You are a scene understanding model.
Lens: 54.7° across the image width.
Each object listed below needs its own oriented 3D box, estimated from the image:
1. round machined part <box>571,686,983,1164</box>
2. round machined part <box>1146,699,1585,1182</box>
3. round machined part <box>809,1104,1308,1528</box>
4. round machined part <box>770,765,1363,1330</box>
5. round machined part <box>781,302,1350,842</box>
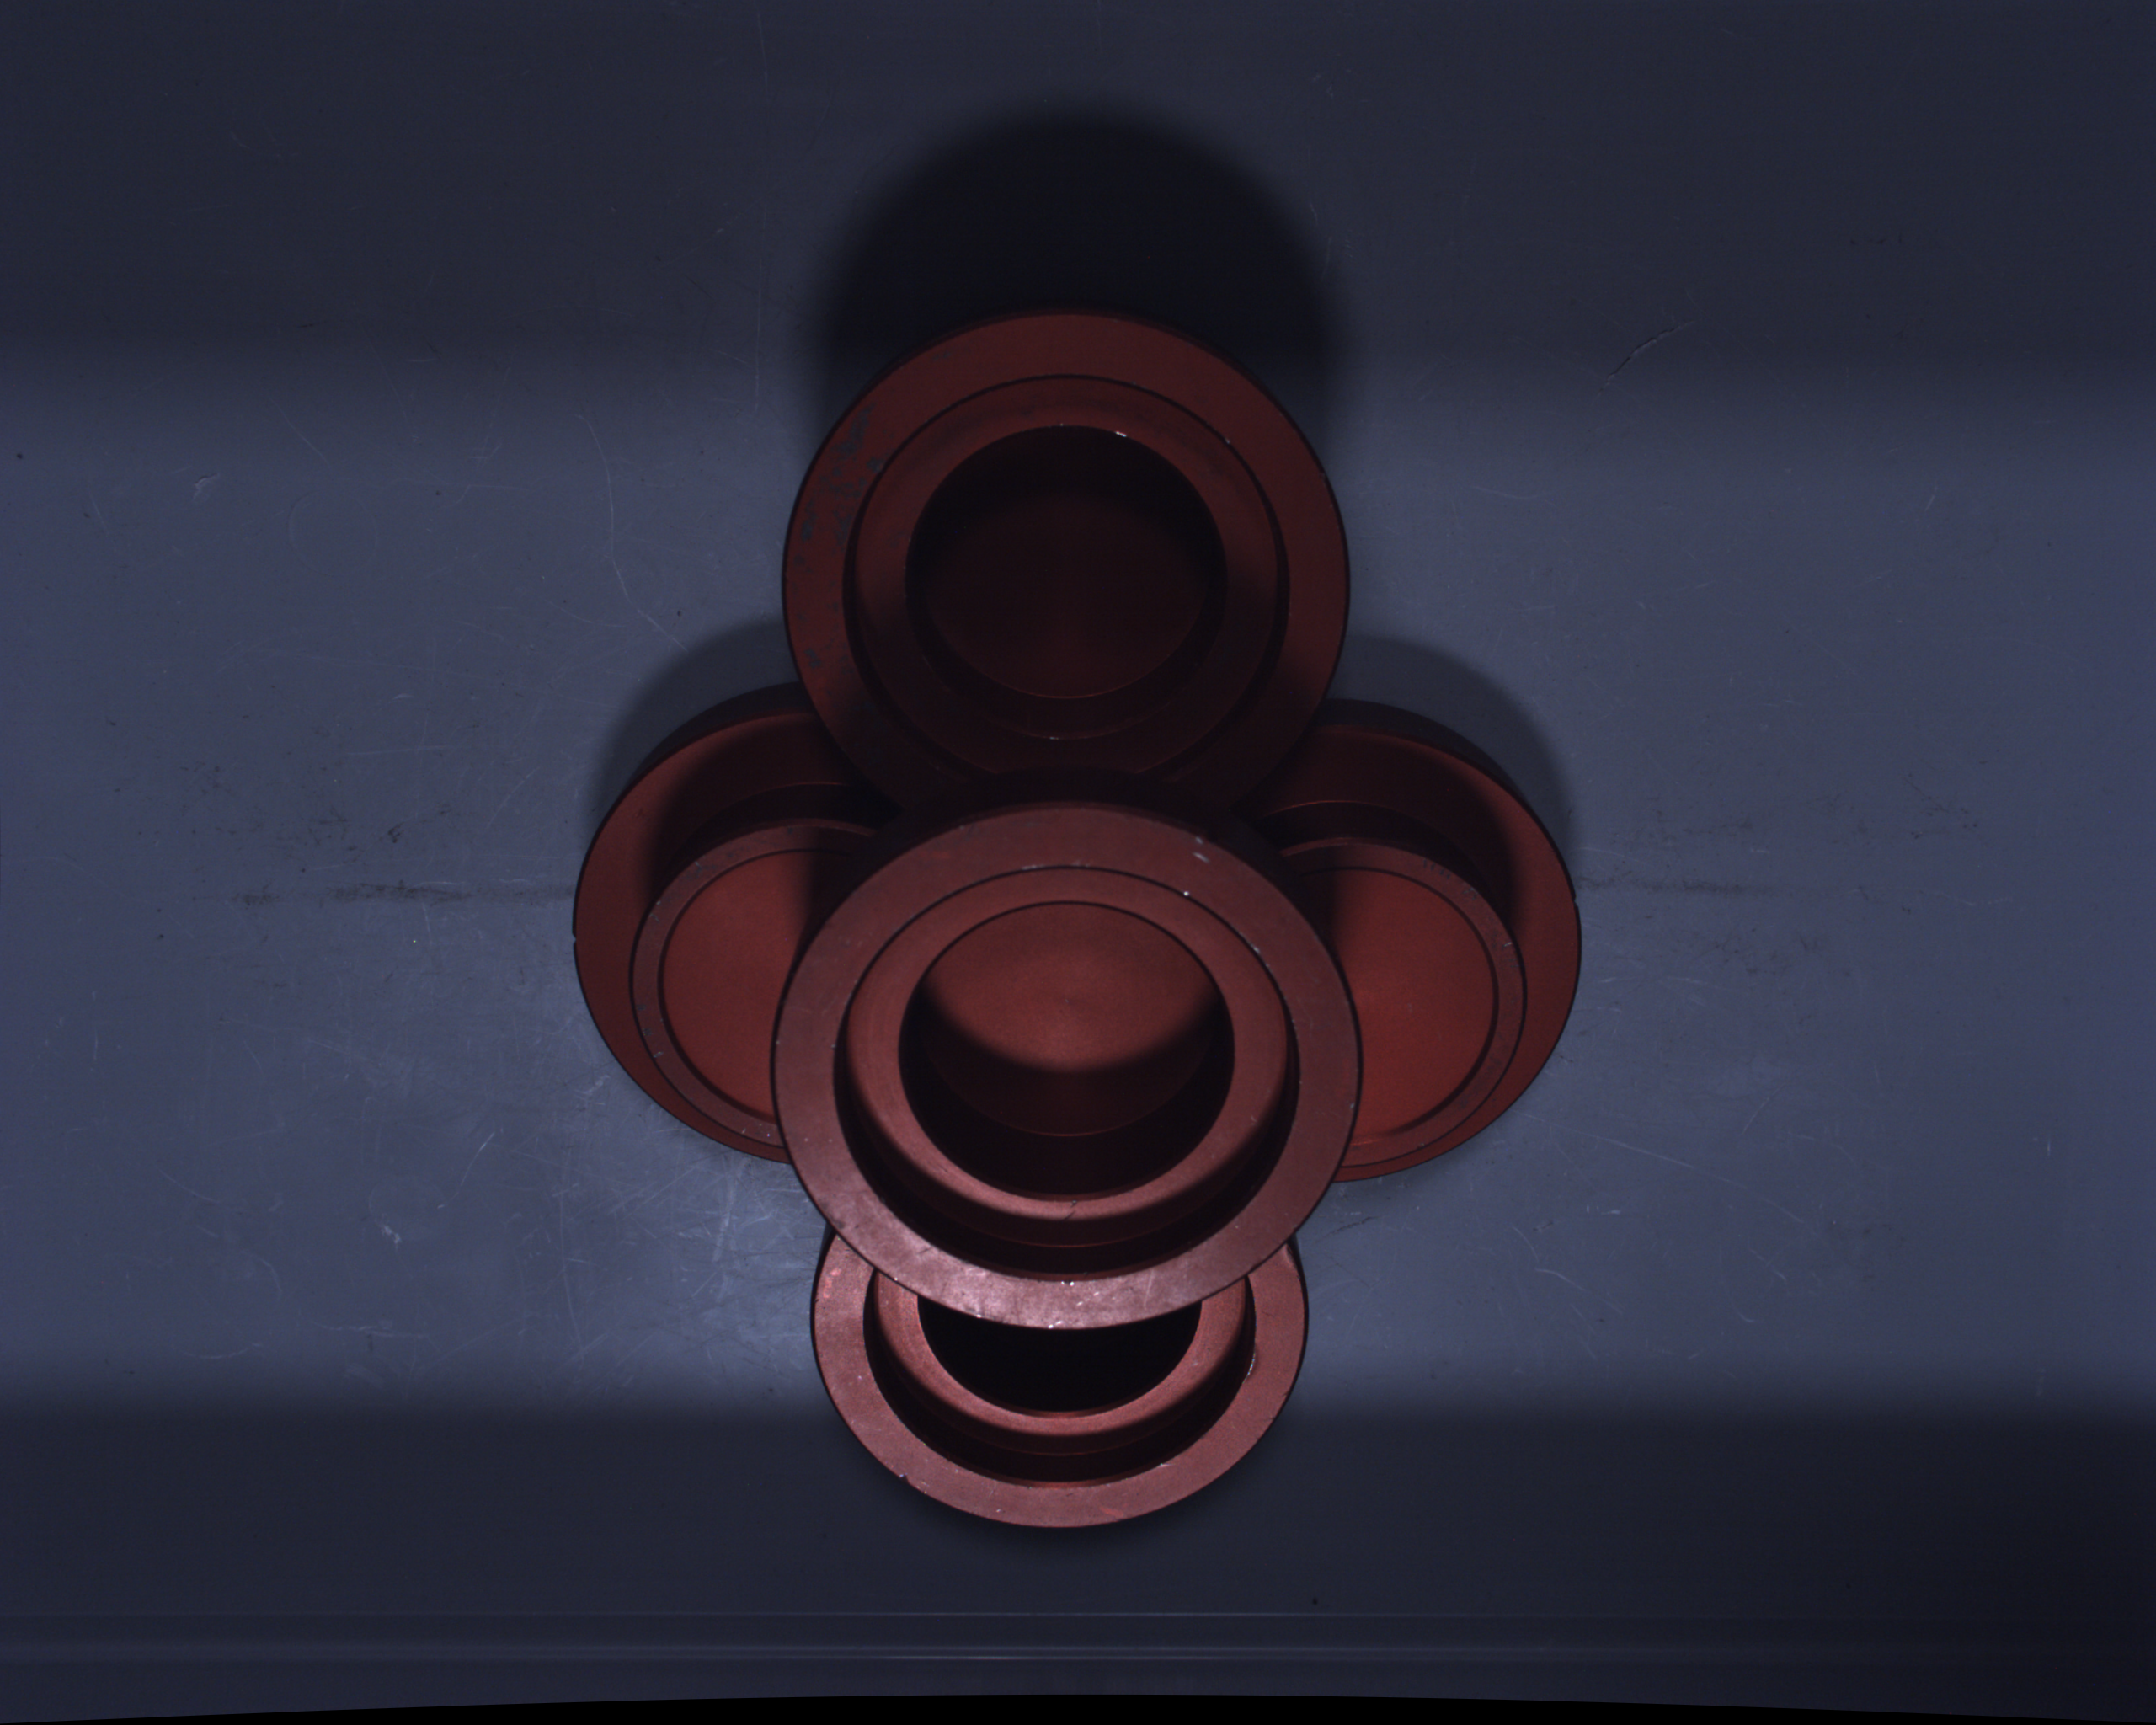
[{"bbox_3d":[-0.049,0.017,0.406,0.099,0.042,0.097,0,110,-1],"label":"round machined part"},{"bbox_3d":[0.050,0.020,0.408,0.099,0.042,0.097,0,110,-1],"label":"round machined part"},{"bbox_3d":[-0.004,0.085,0.431,0.099,0.042,0.097,0,110,-1],"label":"round machined part"},{"bbox_3d":[-0.002,0.029,0.366,0.099,0.042,0.097,0,110,-1],"label":"round machined part"},{"bbox_3d":[-0.002,-0.053,0.380,0.099,0.042,0.097,0,110,-1],"label":"round machined part"}]
